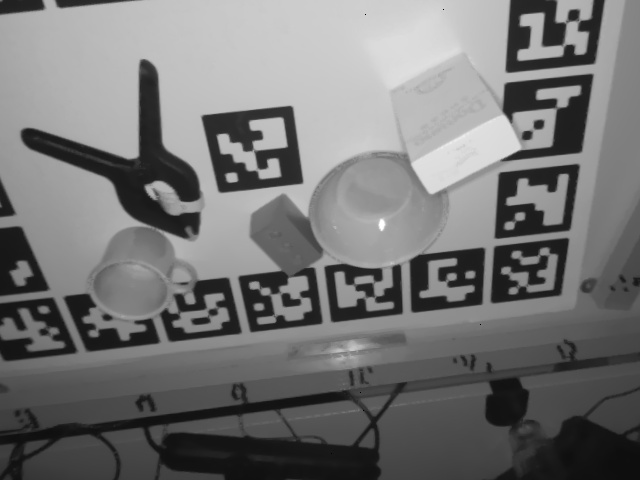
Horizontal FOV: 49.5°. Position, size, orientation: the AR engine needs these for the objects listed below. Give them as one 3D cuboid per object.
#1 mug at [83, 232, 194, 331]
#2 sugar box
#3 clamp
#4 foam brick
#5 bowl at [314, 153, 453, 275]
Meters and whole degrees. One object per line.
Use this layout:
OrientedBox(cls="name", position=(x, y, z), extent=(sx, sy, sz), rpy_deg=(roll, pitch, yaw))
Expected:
OrientedBox(cls="mug", position=(-0.205, 0.048, 0.807), extent=(0.118, 0.082, 0.092), rpy_deg=(16, 121, -11))
OrientedBox(cls="sugar box", position=(0.134, -0.124, 0.671), extent=(0.092, 0.177, 0.045), rpy_deg=(-28, 119, 15))
OrientedBox(cls="clamp", position=(-0.188, -0.072, 0.753), extent=(0.164, 0.037, 0.203), rpy_deg=(-28, 120, 11))
OrientedBox(cls="foam brick", position=(-0.040, -0.007, 0.814), extent=(0.052, 0.051, 0.078), rpy_deg=(-31, 119, 14))
OrientedBox(cls="bowl", position=(0.073, -0.039, 0.793), extent=(0.162, 0.055, 0.160), rpy_deg=(-2, 123, -2))
